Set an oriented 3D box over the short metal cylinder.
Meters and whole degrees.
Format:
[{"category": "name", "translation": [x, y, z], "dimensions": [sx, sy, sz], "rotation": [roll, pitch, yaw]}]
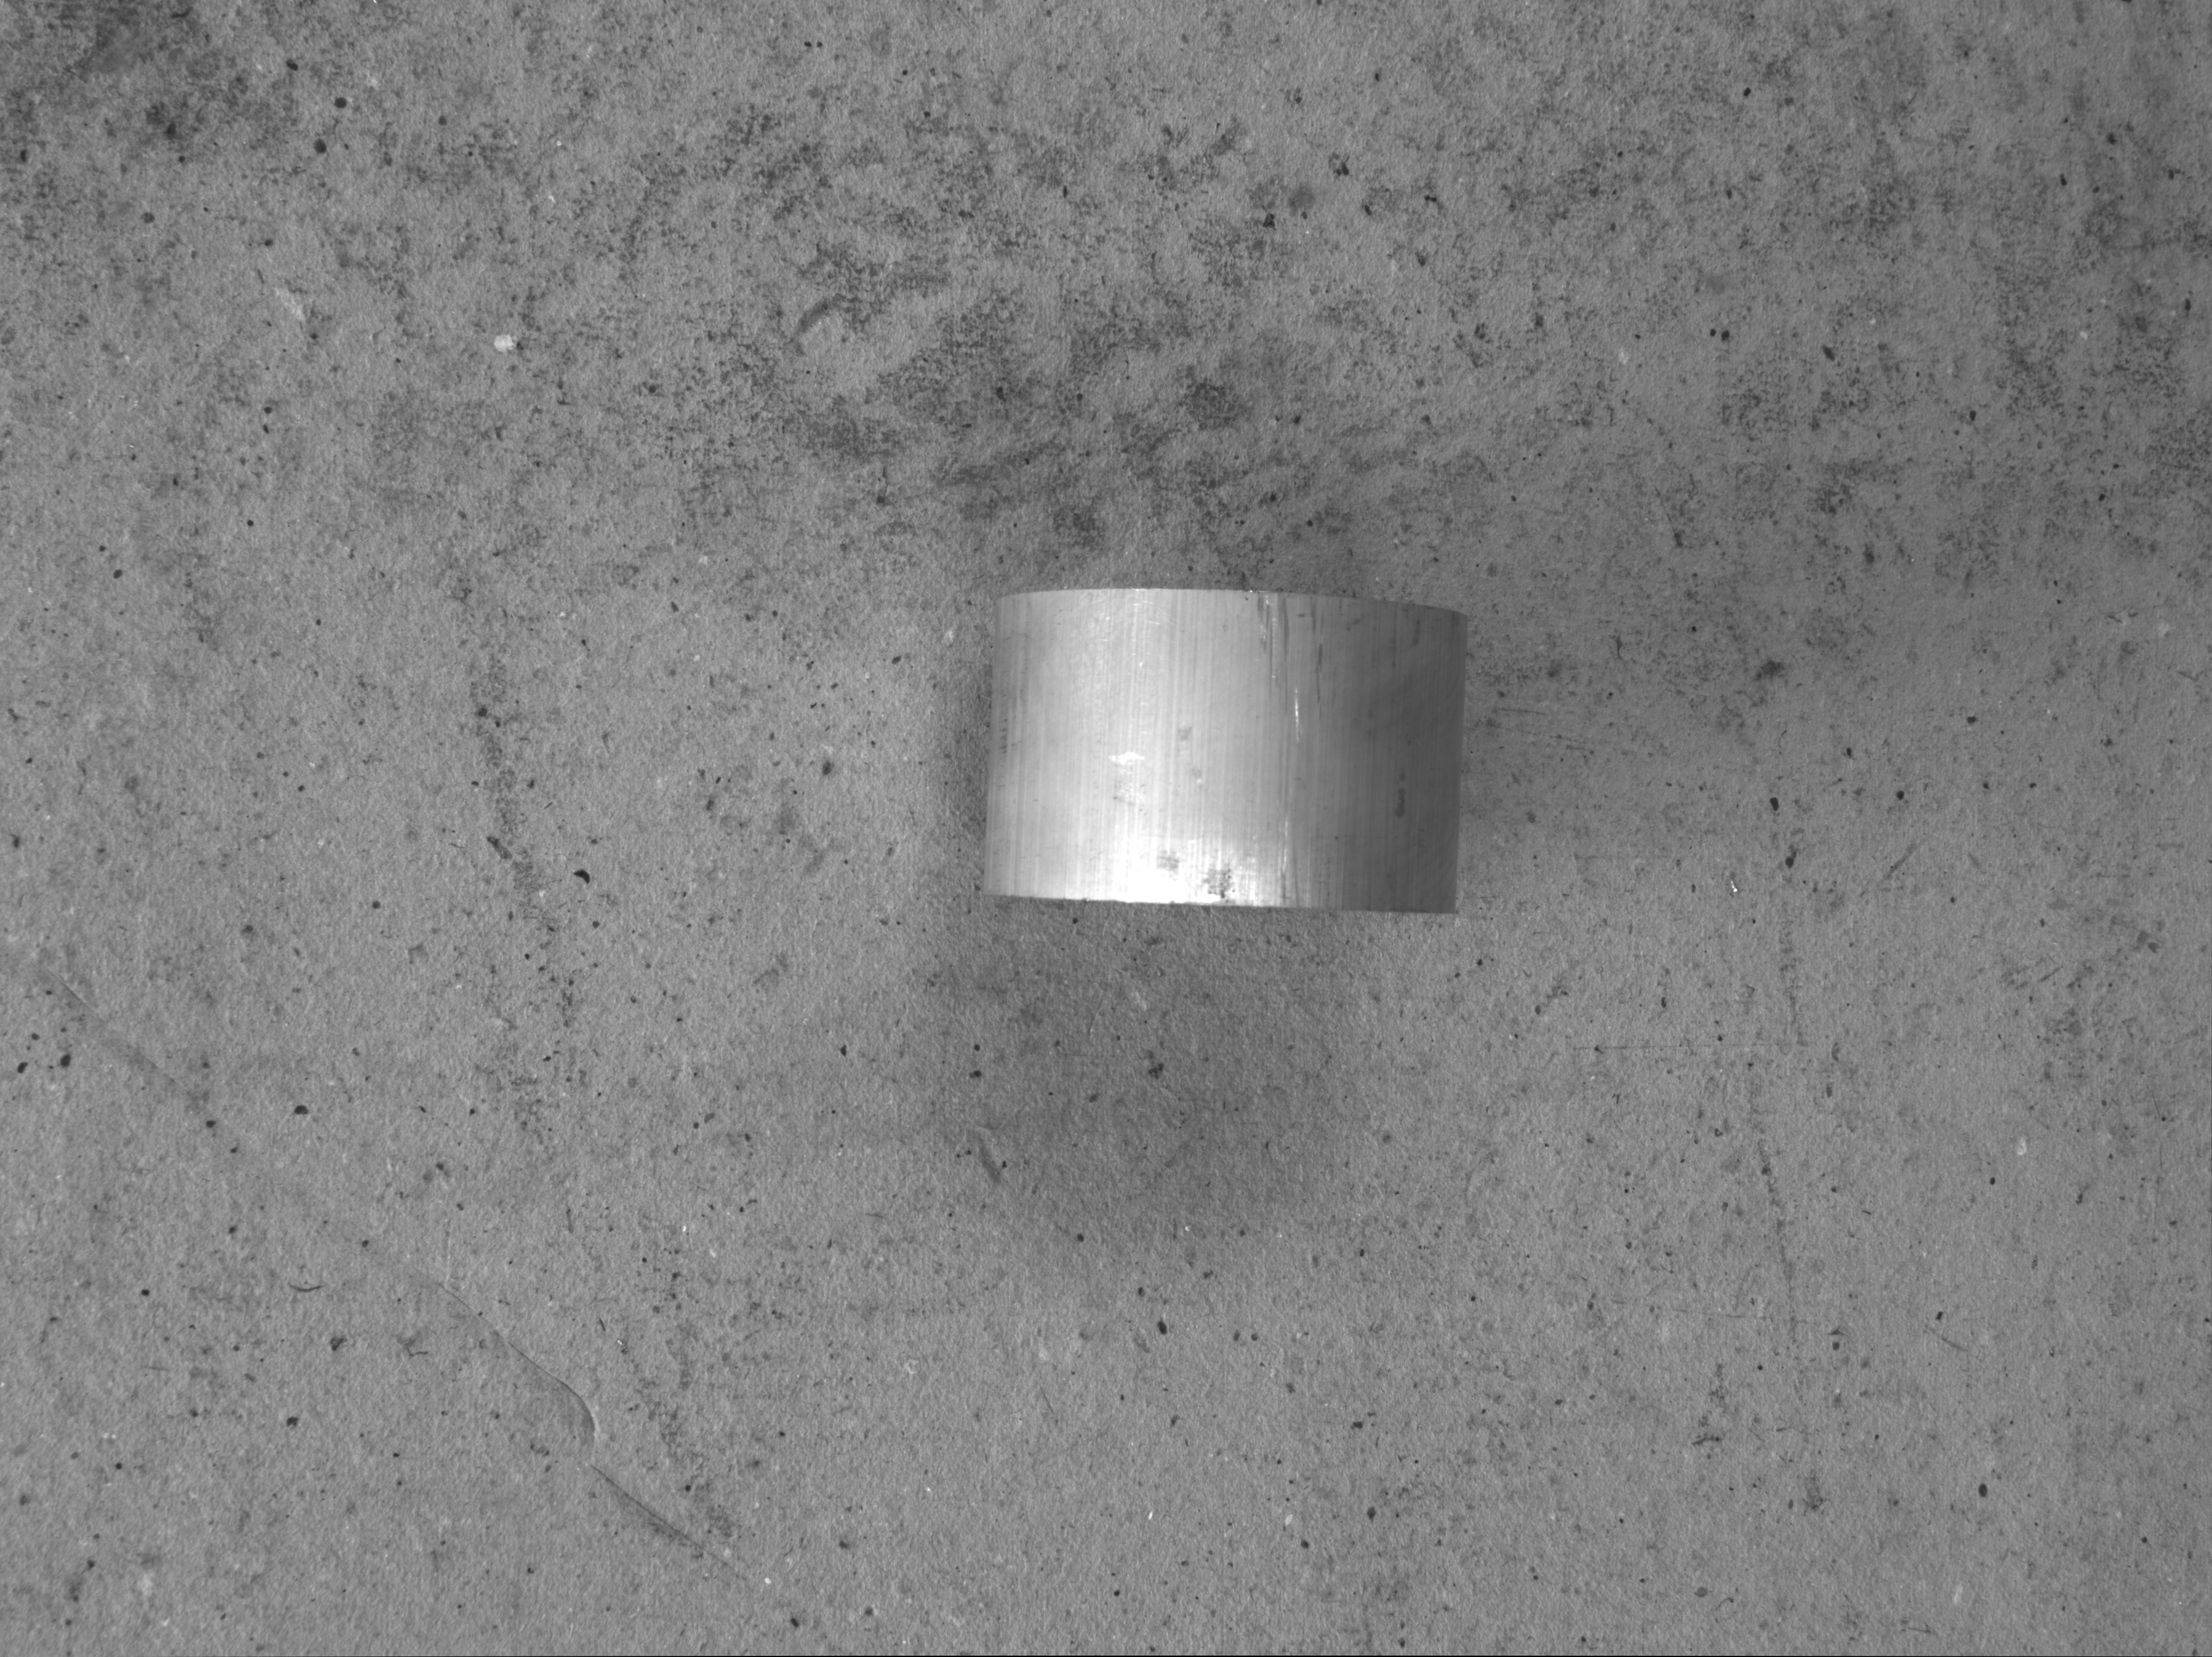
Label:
[{"category": "short metal cylinder", "translation": [0.020, -0.012, 0.622], "dimensions": [0.080, 0.080, 0.050], "rotation": [2, 89, -20]}]
